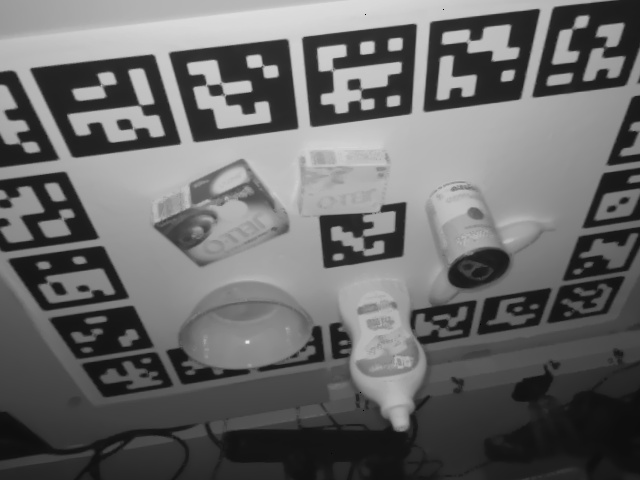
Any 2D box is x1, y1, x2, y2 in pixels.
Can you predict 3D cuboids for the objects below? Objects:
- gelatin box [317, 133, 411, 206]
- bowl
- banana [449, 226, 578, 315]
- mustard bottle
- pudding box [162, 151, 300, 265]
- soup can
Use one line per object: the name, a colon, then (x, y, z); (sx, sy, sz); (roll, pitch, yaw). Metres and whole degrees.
gelatin box: (0.043, -0.071, 0.714); (0.090, 0.030, 0.072); (-3, 134, -10)
bowl: (-0.087, 0.098, 0.855); (0.162, 0.055, 0.160); (-8, 139, -6)
banana: (0.226, 0.037, 0.867); (0.075, 0.039, 0.194); (17, 131, -41)
mustard bottle: (0.093, 0.148, 0.826); (0.096, 0.192, 0.058); (-7, 141, -4)
pudding box: (-0.090, -0.032, 0.720); (0.113, 0.039, 0.090); (-24, 131, 13)
soup can: (0.184, -0.002, 0.754); (0.068, 0.102, 0.067); (-5, 139, -3)
